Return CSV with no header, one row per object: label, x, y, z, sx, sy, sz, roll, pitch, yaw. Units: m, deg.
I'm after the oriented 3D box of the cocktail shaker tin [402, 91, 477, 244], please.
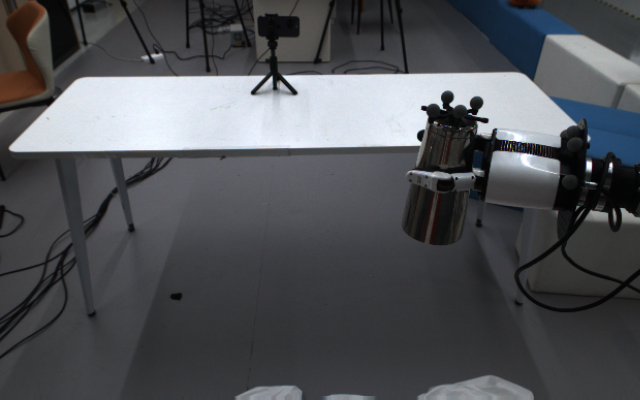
cocktail shaker tin,0.175,-0.034,0.685,0.093,0.170,0.093,2,30,-1
